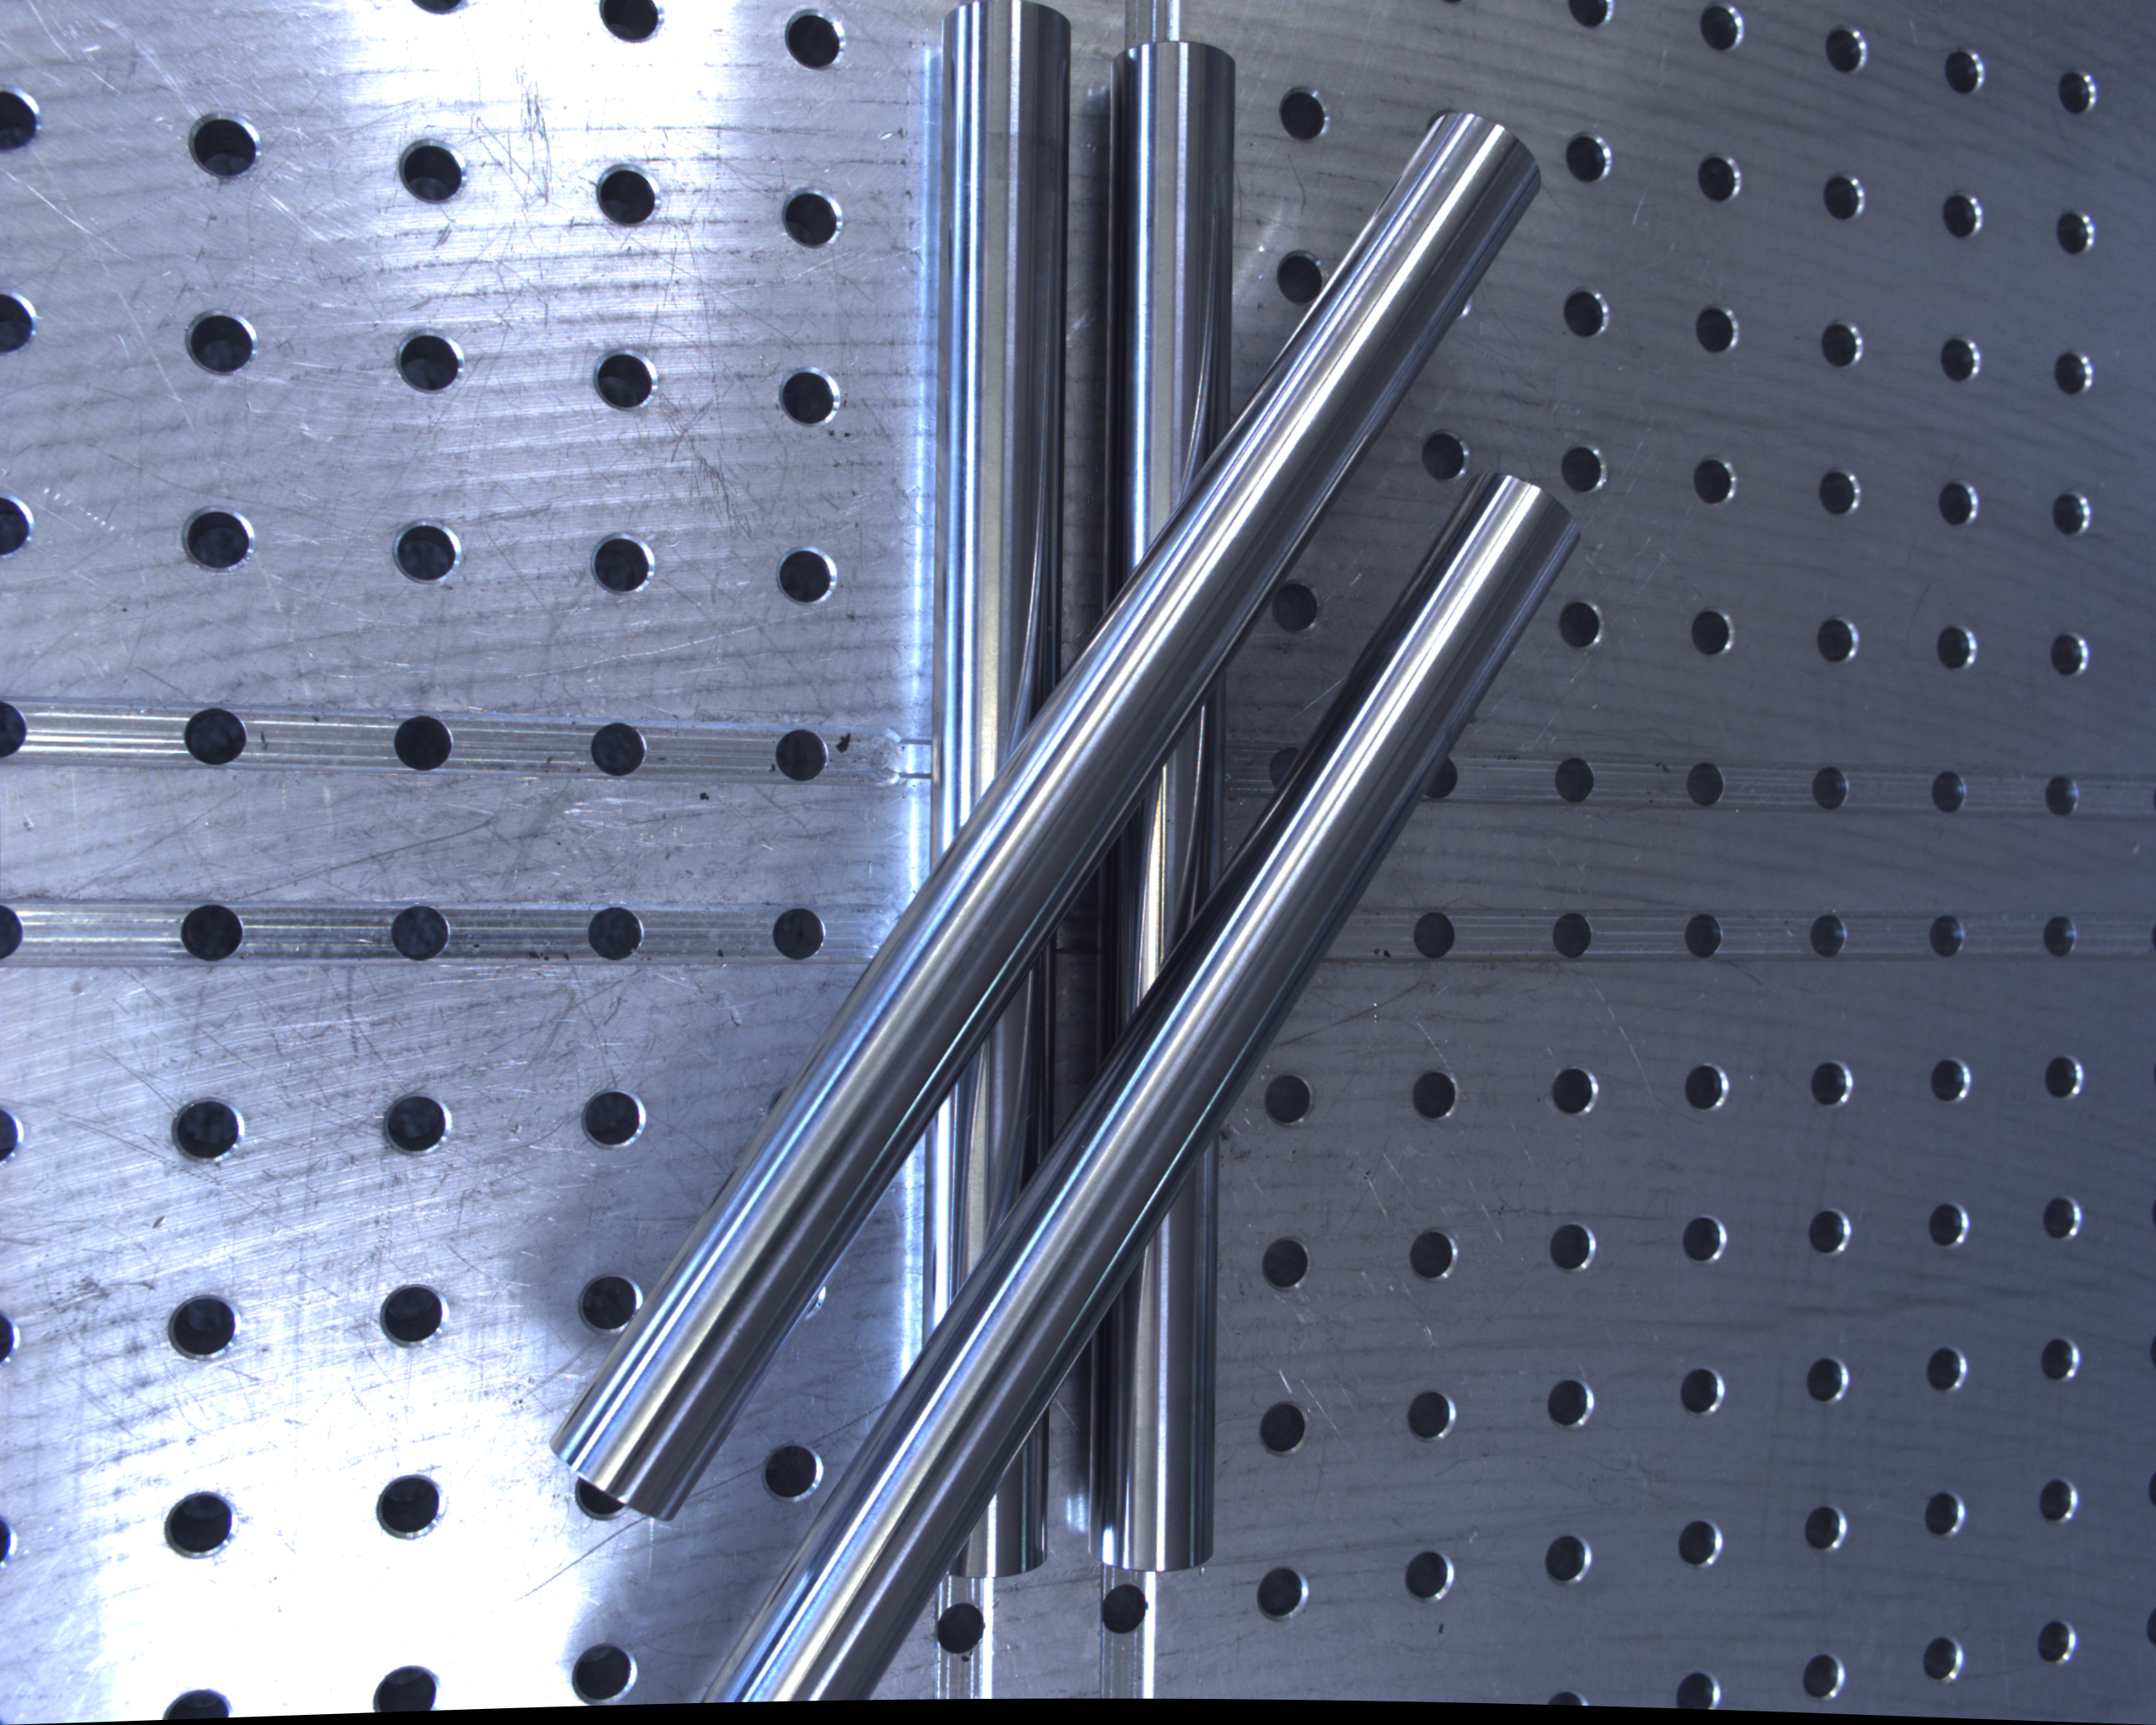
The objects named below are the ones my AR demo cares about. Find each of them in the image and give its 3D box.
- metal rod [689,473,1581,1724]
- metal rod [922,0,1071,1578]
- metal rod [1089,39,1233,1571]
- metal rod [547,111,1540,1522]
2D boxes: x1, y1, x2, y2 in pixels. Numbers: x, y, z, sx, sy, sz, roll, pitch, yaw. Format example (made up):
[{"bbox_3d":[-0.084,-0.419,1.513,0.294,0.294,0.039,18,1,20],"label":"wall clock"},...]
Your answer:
[{"bbox_3d":[0.010,0.053,0.389,0.025,0.025,0.300,36,78,-17],"label":"metal rod"},{"bbox_3d":[-0.016,-0.014,0.407,0.025,0.025,0.298,1,90,-20],"label":"metal rod"},{"bbox_3d":[0.017,-0.011,0.419,0.025,0.025,0.298,1,90,-20],"label":"metal rod"},{"bbox_3d":[0.000,-0.017,0.387,0.025,0.025,0.300,37,78,-17],"label":"metal rod"}]
